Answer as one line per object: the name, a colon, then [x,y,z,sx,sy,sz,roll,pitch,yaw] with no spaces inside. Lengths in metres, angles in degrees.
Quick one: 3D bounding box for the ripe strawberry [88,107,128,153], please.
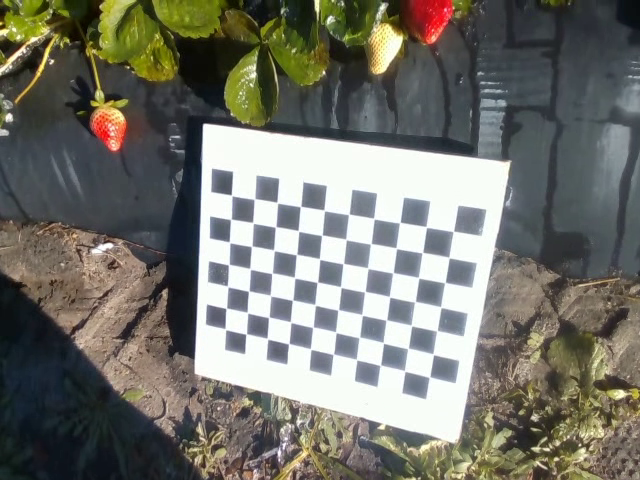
ripe strawberry: [-0.210,-0.111,0.614,0.039,0.053,0.040,-12,-7,21]
